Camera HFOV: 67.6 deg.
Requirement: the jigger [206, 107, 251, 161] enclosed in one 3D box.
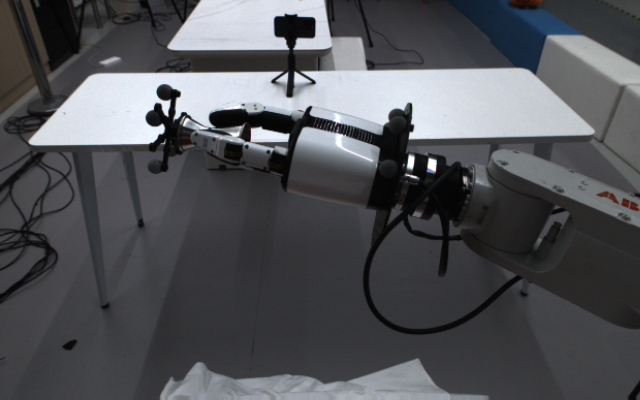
[{"bbox_3d":[-0.106,-0.069,0.524,0.071,0.043,0.043,9,35,3],"label":"jigger"}]
